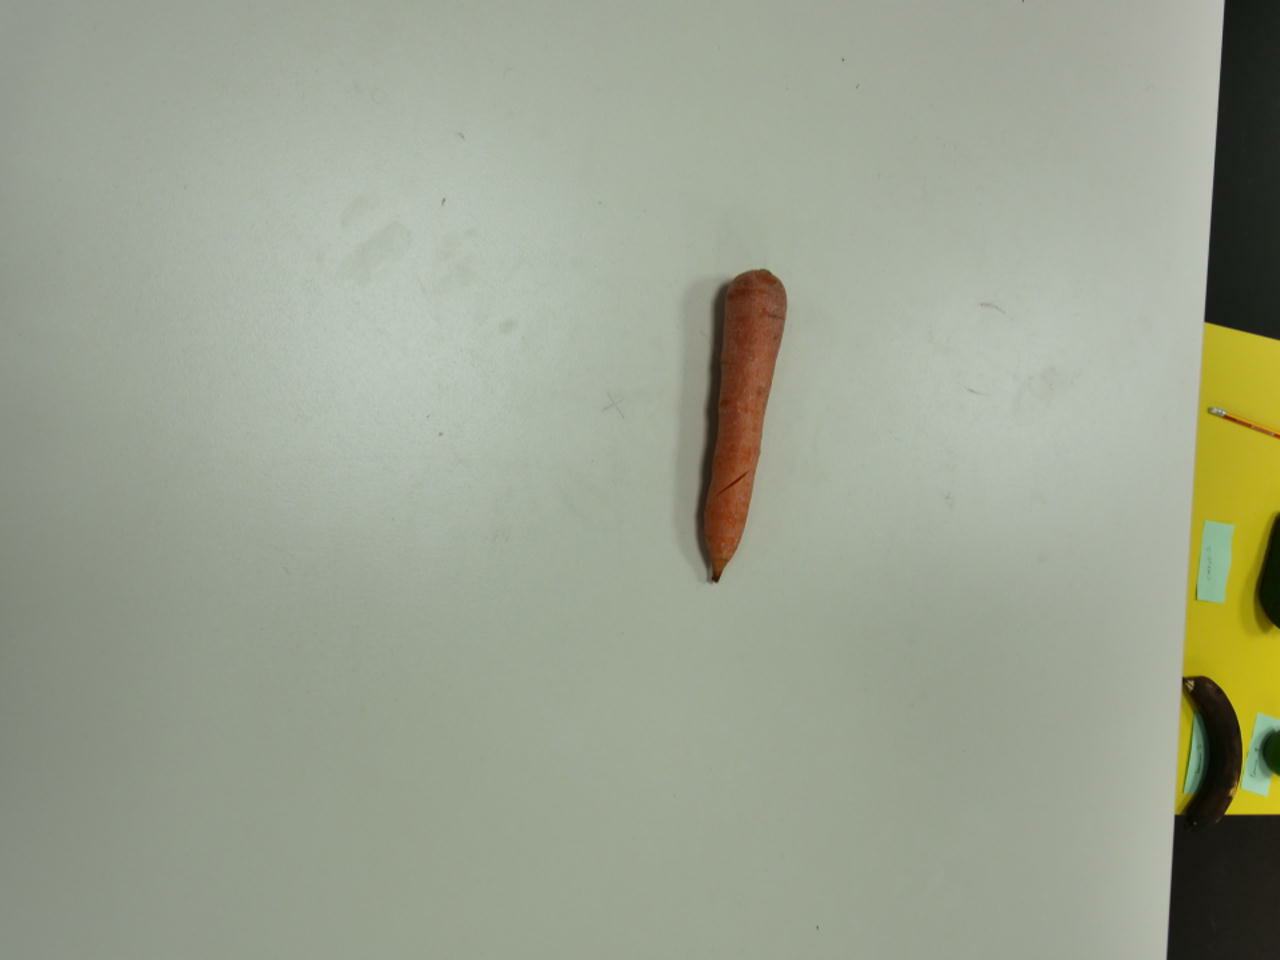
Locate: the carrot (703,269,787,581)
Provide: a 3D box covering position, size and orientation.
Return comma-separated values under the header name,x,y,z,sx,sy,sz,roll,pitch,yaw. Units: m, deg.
name,x,y,z,sx,sy,sz,roll,pitch,yaw
carrot,0.065,-0.033,0.620,0.039,0.041,0.196,6,88,-22
